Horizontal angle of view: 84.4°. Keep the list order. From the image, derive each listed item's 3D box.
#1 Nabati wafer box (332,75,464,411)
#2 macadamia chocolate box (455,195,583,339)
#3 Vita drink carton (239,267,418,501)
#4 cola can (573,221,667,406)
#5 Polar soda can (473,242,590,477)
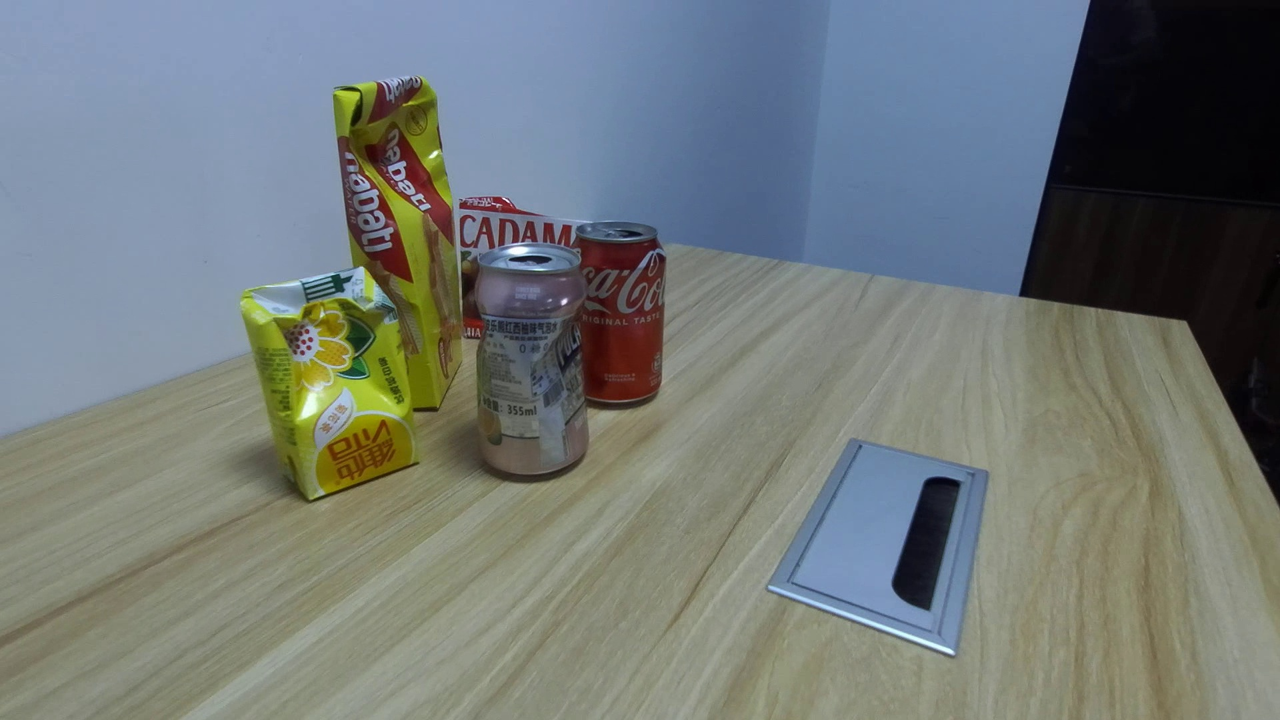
[{"bbox_3d":[-0.153,-0.076,0.469,0.042,0.205,0.113,-1,24,0],"label":"Nabati wafer box"},{"bbox_3d":[-0.085,-0.076,0.591,0.126,0.112,0.056,4,21,6],"label":"macadamia chocolate box"},{"bbox_3d":[-0.163,0.012,0.381,0.071,0.110,0.046,-20,29,-40],"label":"Vita drink carton"},{"bbox_3d":[-0.015,-0.033,0.487,0.068,0.120,0.068,2,24,-1],"label":"cola can"},{"bbox_3d":[-0.060,0.001,0.404,0.074,0.122,0.067,-18,29,-38],"label":"Polar soda can"}]
